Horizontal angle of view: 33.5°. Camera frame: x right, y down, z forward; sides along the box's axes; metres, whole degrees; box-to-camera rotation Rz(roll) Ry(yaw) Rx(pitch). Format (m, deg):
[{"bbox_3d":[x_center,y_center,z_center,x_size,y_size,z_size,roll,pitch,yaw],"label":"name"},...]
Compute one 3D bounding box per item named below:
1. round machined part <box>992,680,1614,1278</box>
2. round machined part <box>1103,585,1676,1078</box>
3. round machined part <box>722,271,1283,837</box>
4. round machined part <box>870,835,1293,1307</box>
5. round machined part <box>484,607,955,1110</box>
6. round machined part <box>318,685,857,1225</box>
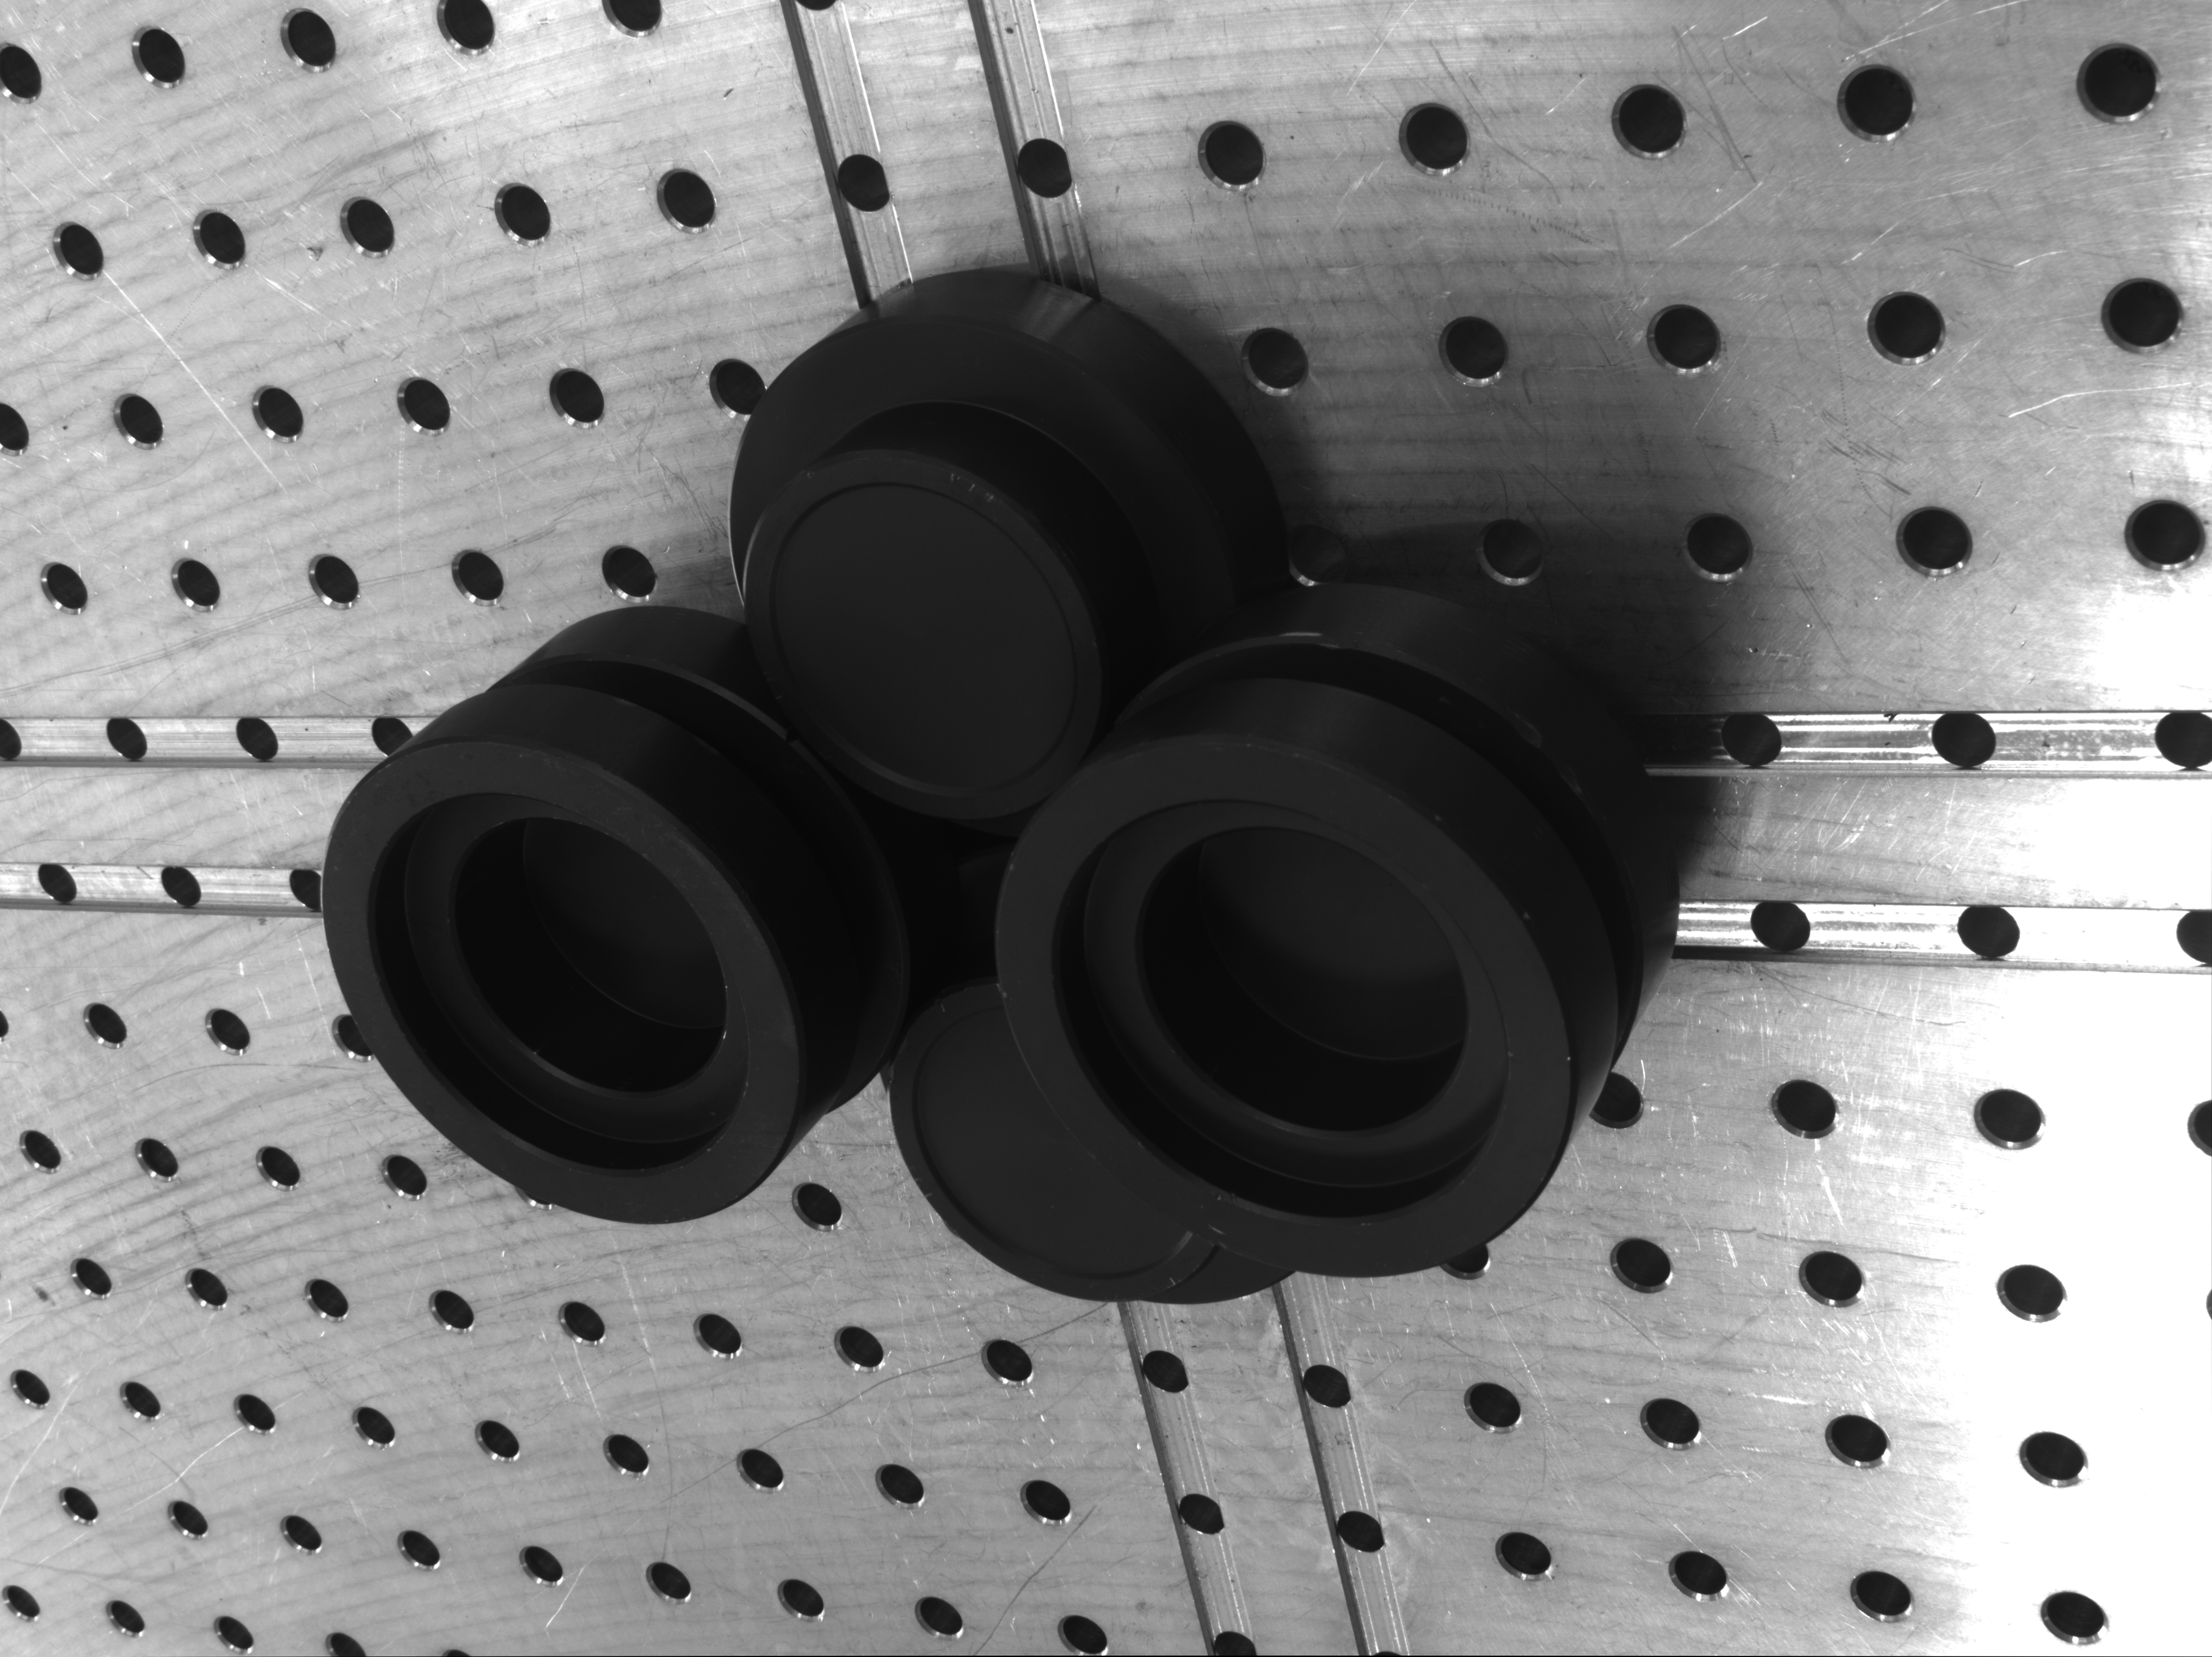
[{"bbox_3d":[0.035,0.020,0.587,0.098,0.042,0.098,13,124,21],"label":"round machined part"},{"bbox_3d":[0.048,0.004,0.611,0.098,0.042,0.098,13,124,21],"label":"round machined part"},{"bbox_3d":[-0.023,-0.041,0.622,0.098,0.042,0.098,13,124,21],"label":"round machined part"},{"bbox_3d":[-0.001,0.046,0.663,0.098,0.042,0.098,13,124,21],"label":"round machined part"},{"bbox_3d":[-0.071,0.003,0.675,0.098,0.042,0.098,13,124,21],"label":"round machined part"},{"bbox_3d":[-0.087,0.018,0.651,0.098,0.042,0.098,13,124,21],"label":"round machined part"}]
